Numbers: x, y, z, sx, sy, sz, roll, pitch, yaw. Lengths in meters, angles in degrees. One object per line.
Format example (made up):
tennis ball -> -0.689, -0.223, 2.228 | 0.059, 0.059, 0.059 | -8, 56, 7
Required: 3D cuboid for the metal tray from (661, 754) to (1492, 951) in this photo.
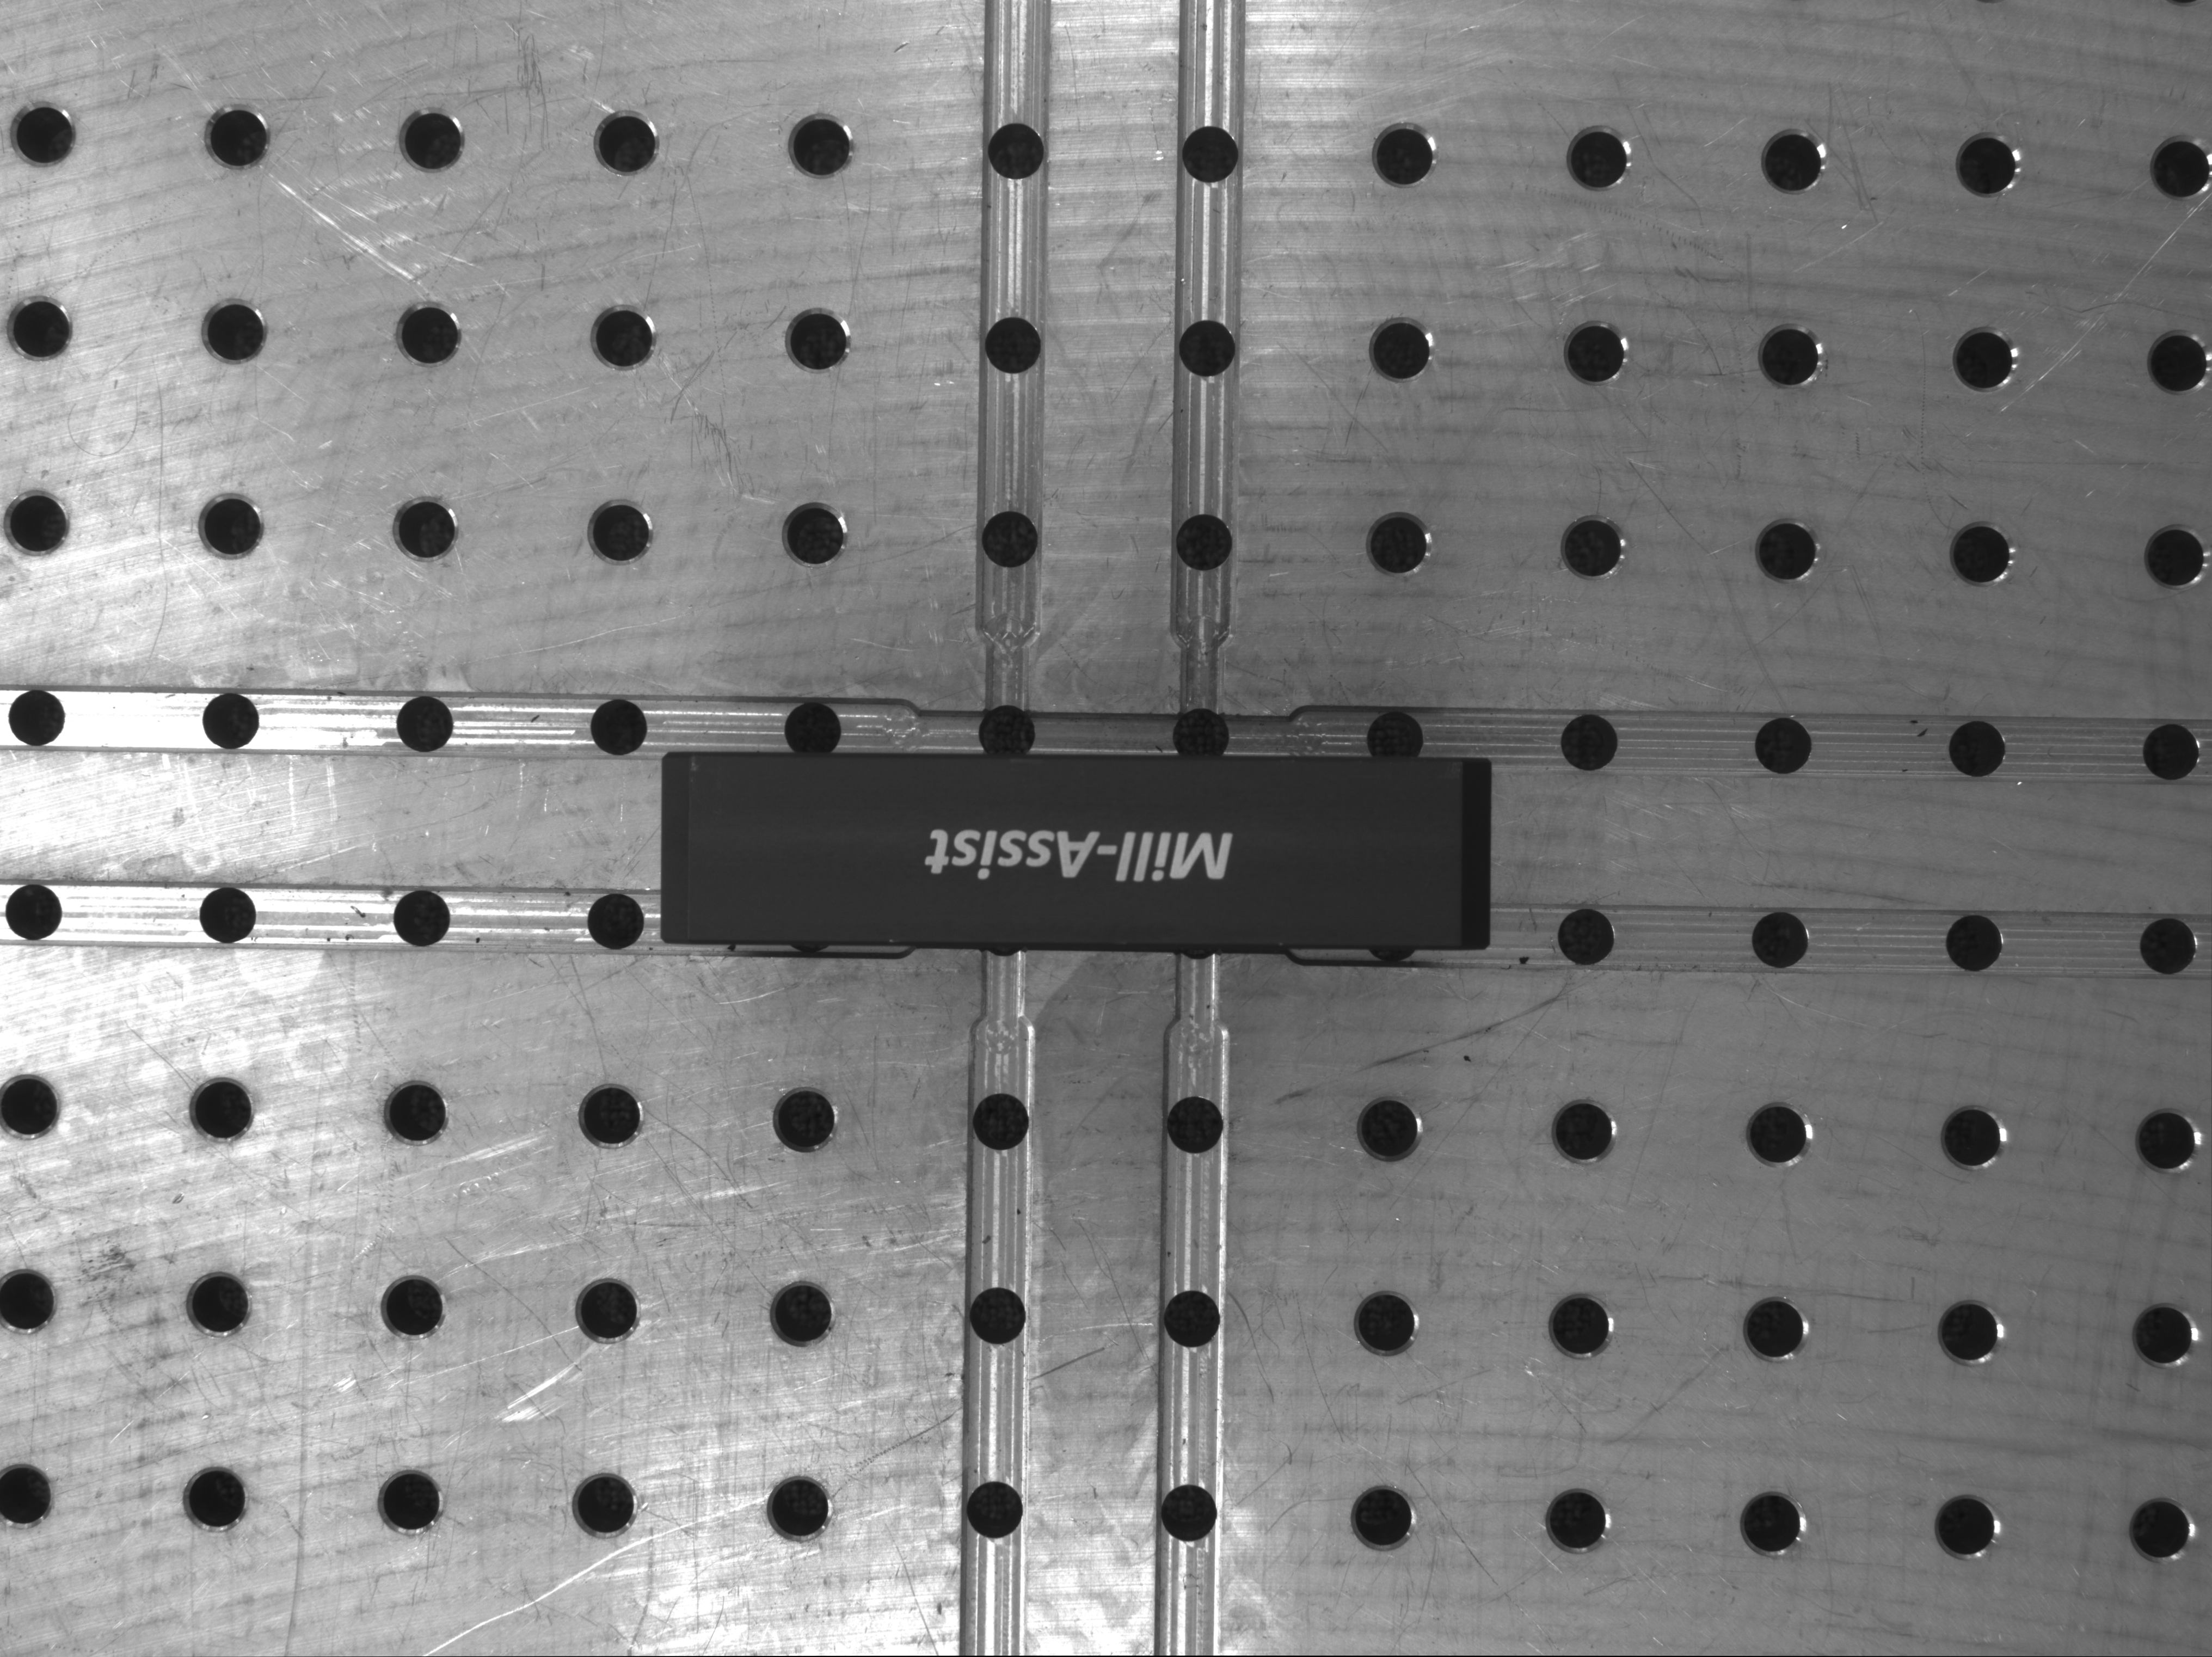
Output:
metal tray -> -0.004, 0.004, 0.615 | 0.130, 0.090, 0.030 | 0, 90, 0
